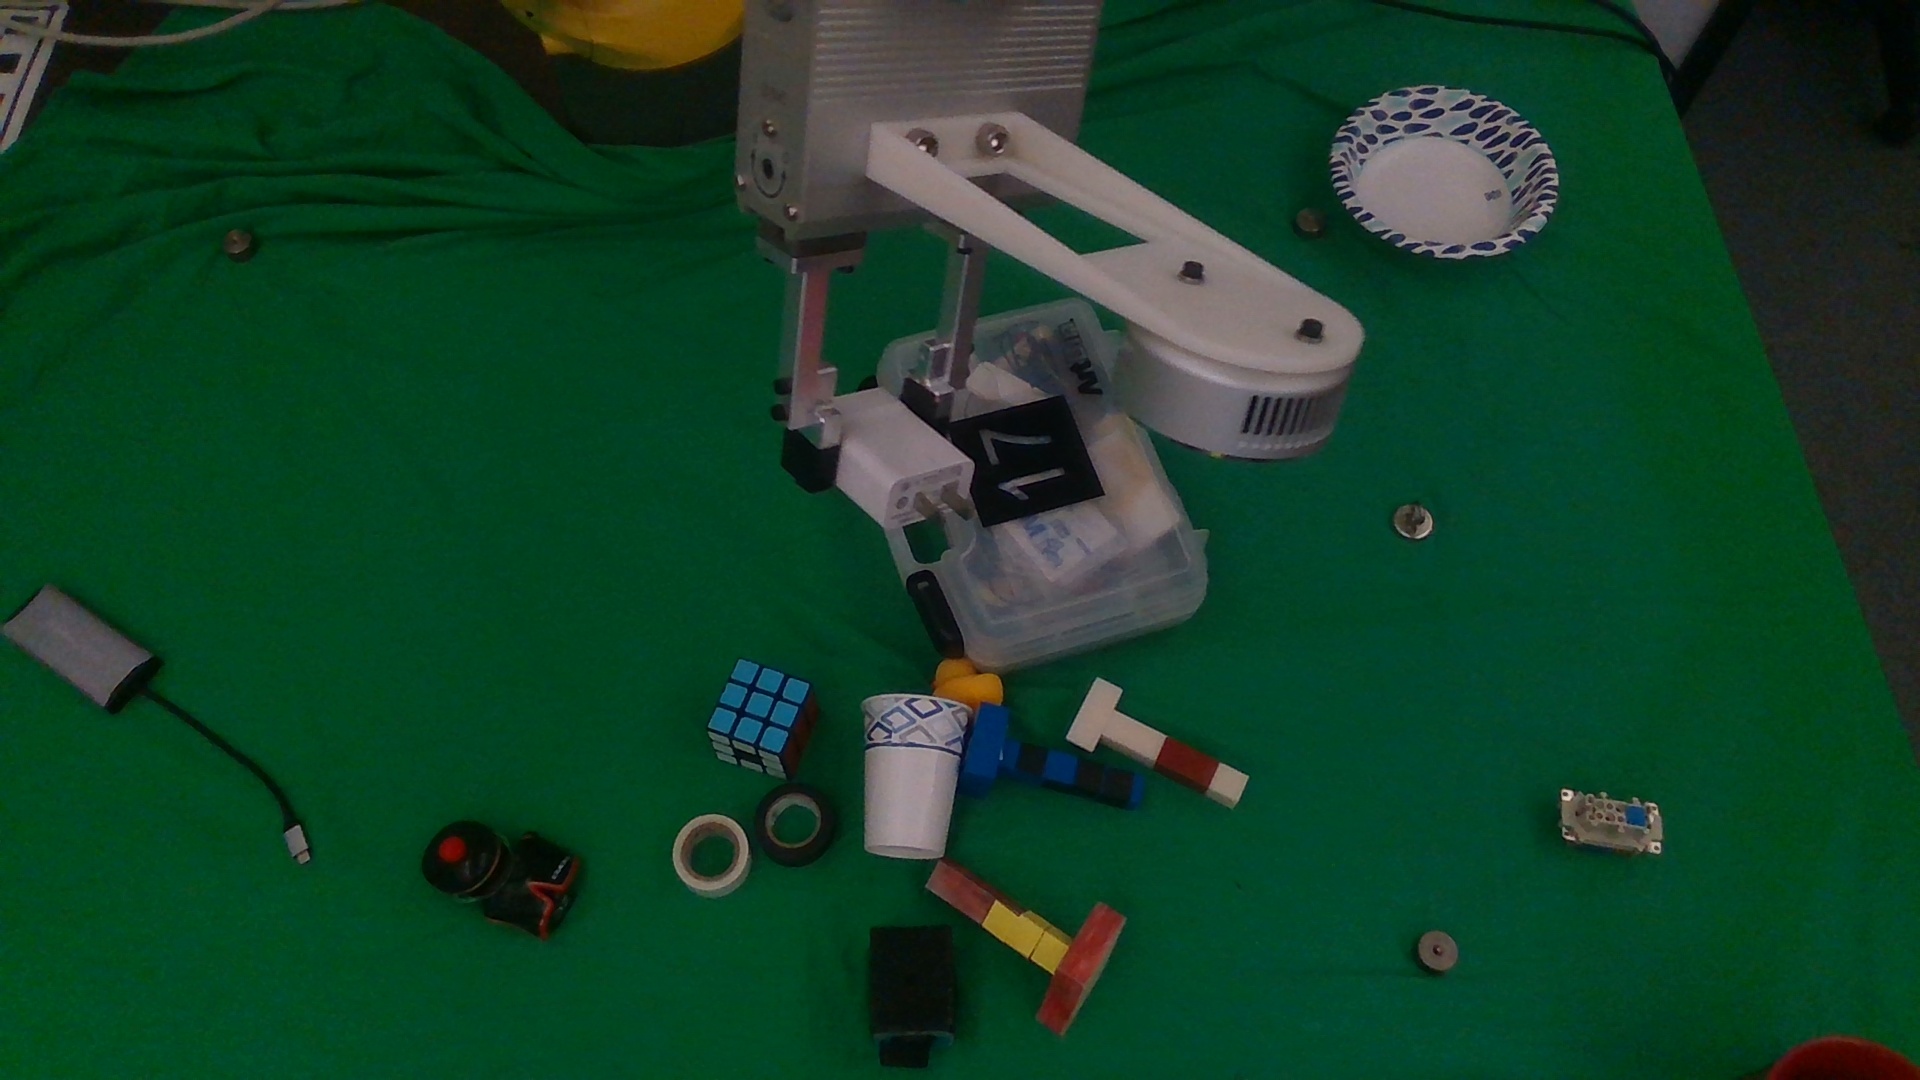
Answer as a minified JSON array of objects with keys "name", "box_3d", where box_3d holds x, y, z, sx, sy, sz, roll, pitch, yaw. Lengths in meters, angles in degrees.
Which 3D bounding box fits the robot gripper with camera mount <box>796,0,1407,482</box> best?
[{"name":"robot gripper with camera mount","box_3d":[0.046,-0.060,0.435,0.118,0.158,0.194,-13,38,-41]}]

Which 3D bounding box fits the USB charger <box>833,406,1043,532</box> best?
[{"name":"USB charger","box_3d":[-0.006,-0.024,0.505,0.076,0.029,0.044,24,24,27]}]
